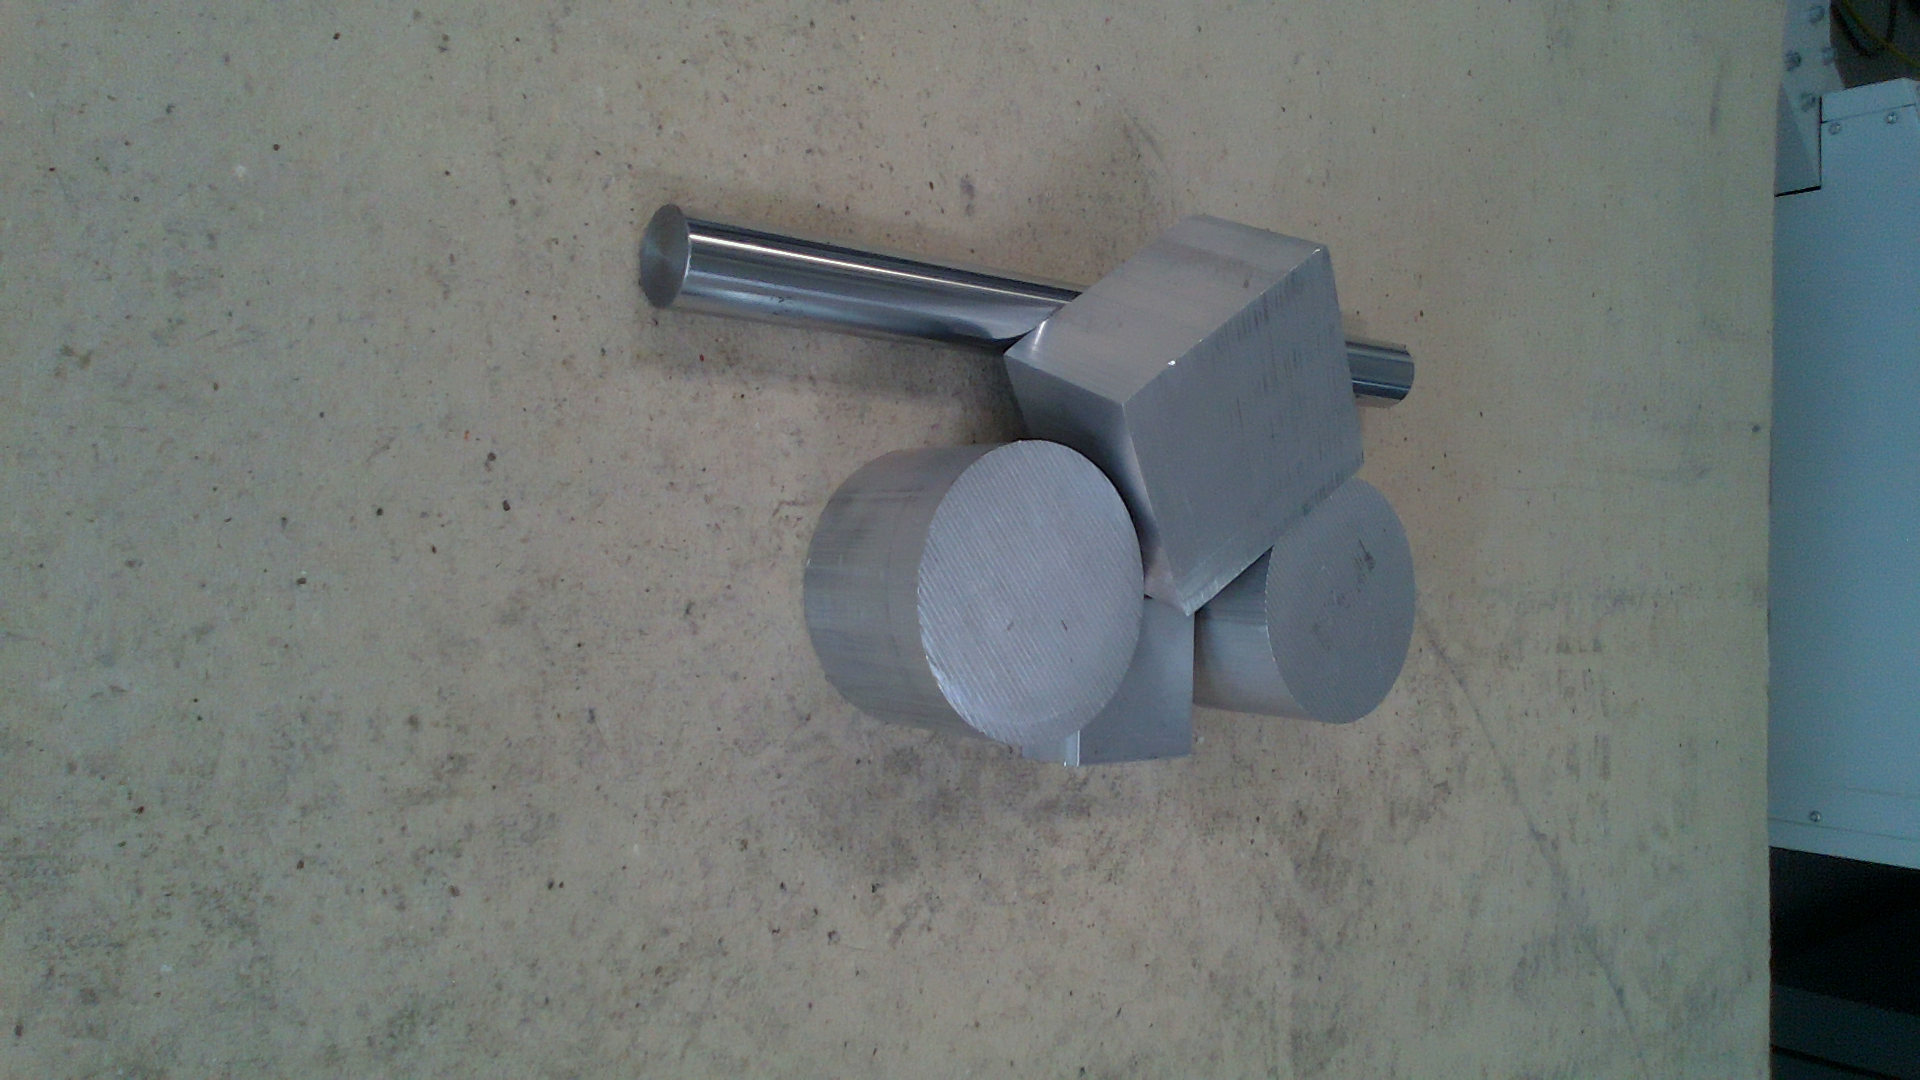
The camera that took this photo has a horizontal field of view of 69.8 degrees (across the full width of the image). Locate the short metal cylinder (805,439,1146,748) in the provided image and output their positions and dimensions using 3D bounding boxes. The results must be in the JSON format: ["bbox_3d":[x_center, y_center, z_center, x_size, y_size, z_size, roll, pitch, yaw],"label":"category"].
[{"bbox_3d":[0.005,0.014,0.376,0.080,0.050,0.080,0,90,-40],"label":"short metal cylinder"}]

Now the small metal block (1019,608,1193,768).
[{"bbox_3d":[0.046,0.042,0.428,0.050,0.025,0.050,3,88,-40],"label":"small metal block"}]

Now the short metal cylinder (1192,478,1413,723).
[{"bbox_3d":[0.108,0.019,0.462,0.080,0.050,0.080,0,90,-40],"label":"short metal cylinder"}]

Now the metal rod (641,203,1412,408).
[{"bbox_3d":[0.045,-0.065,0.426,0.301,0.025,0.025,1,89,-40],"label":"metal rod"}]

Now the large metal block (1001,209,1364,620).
[{"bbox_3d":[0.068,-0.038,0.407,0.080,0.050,0.080,-38,130,-19],"label":"large metal block"}]
